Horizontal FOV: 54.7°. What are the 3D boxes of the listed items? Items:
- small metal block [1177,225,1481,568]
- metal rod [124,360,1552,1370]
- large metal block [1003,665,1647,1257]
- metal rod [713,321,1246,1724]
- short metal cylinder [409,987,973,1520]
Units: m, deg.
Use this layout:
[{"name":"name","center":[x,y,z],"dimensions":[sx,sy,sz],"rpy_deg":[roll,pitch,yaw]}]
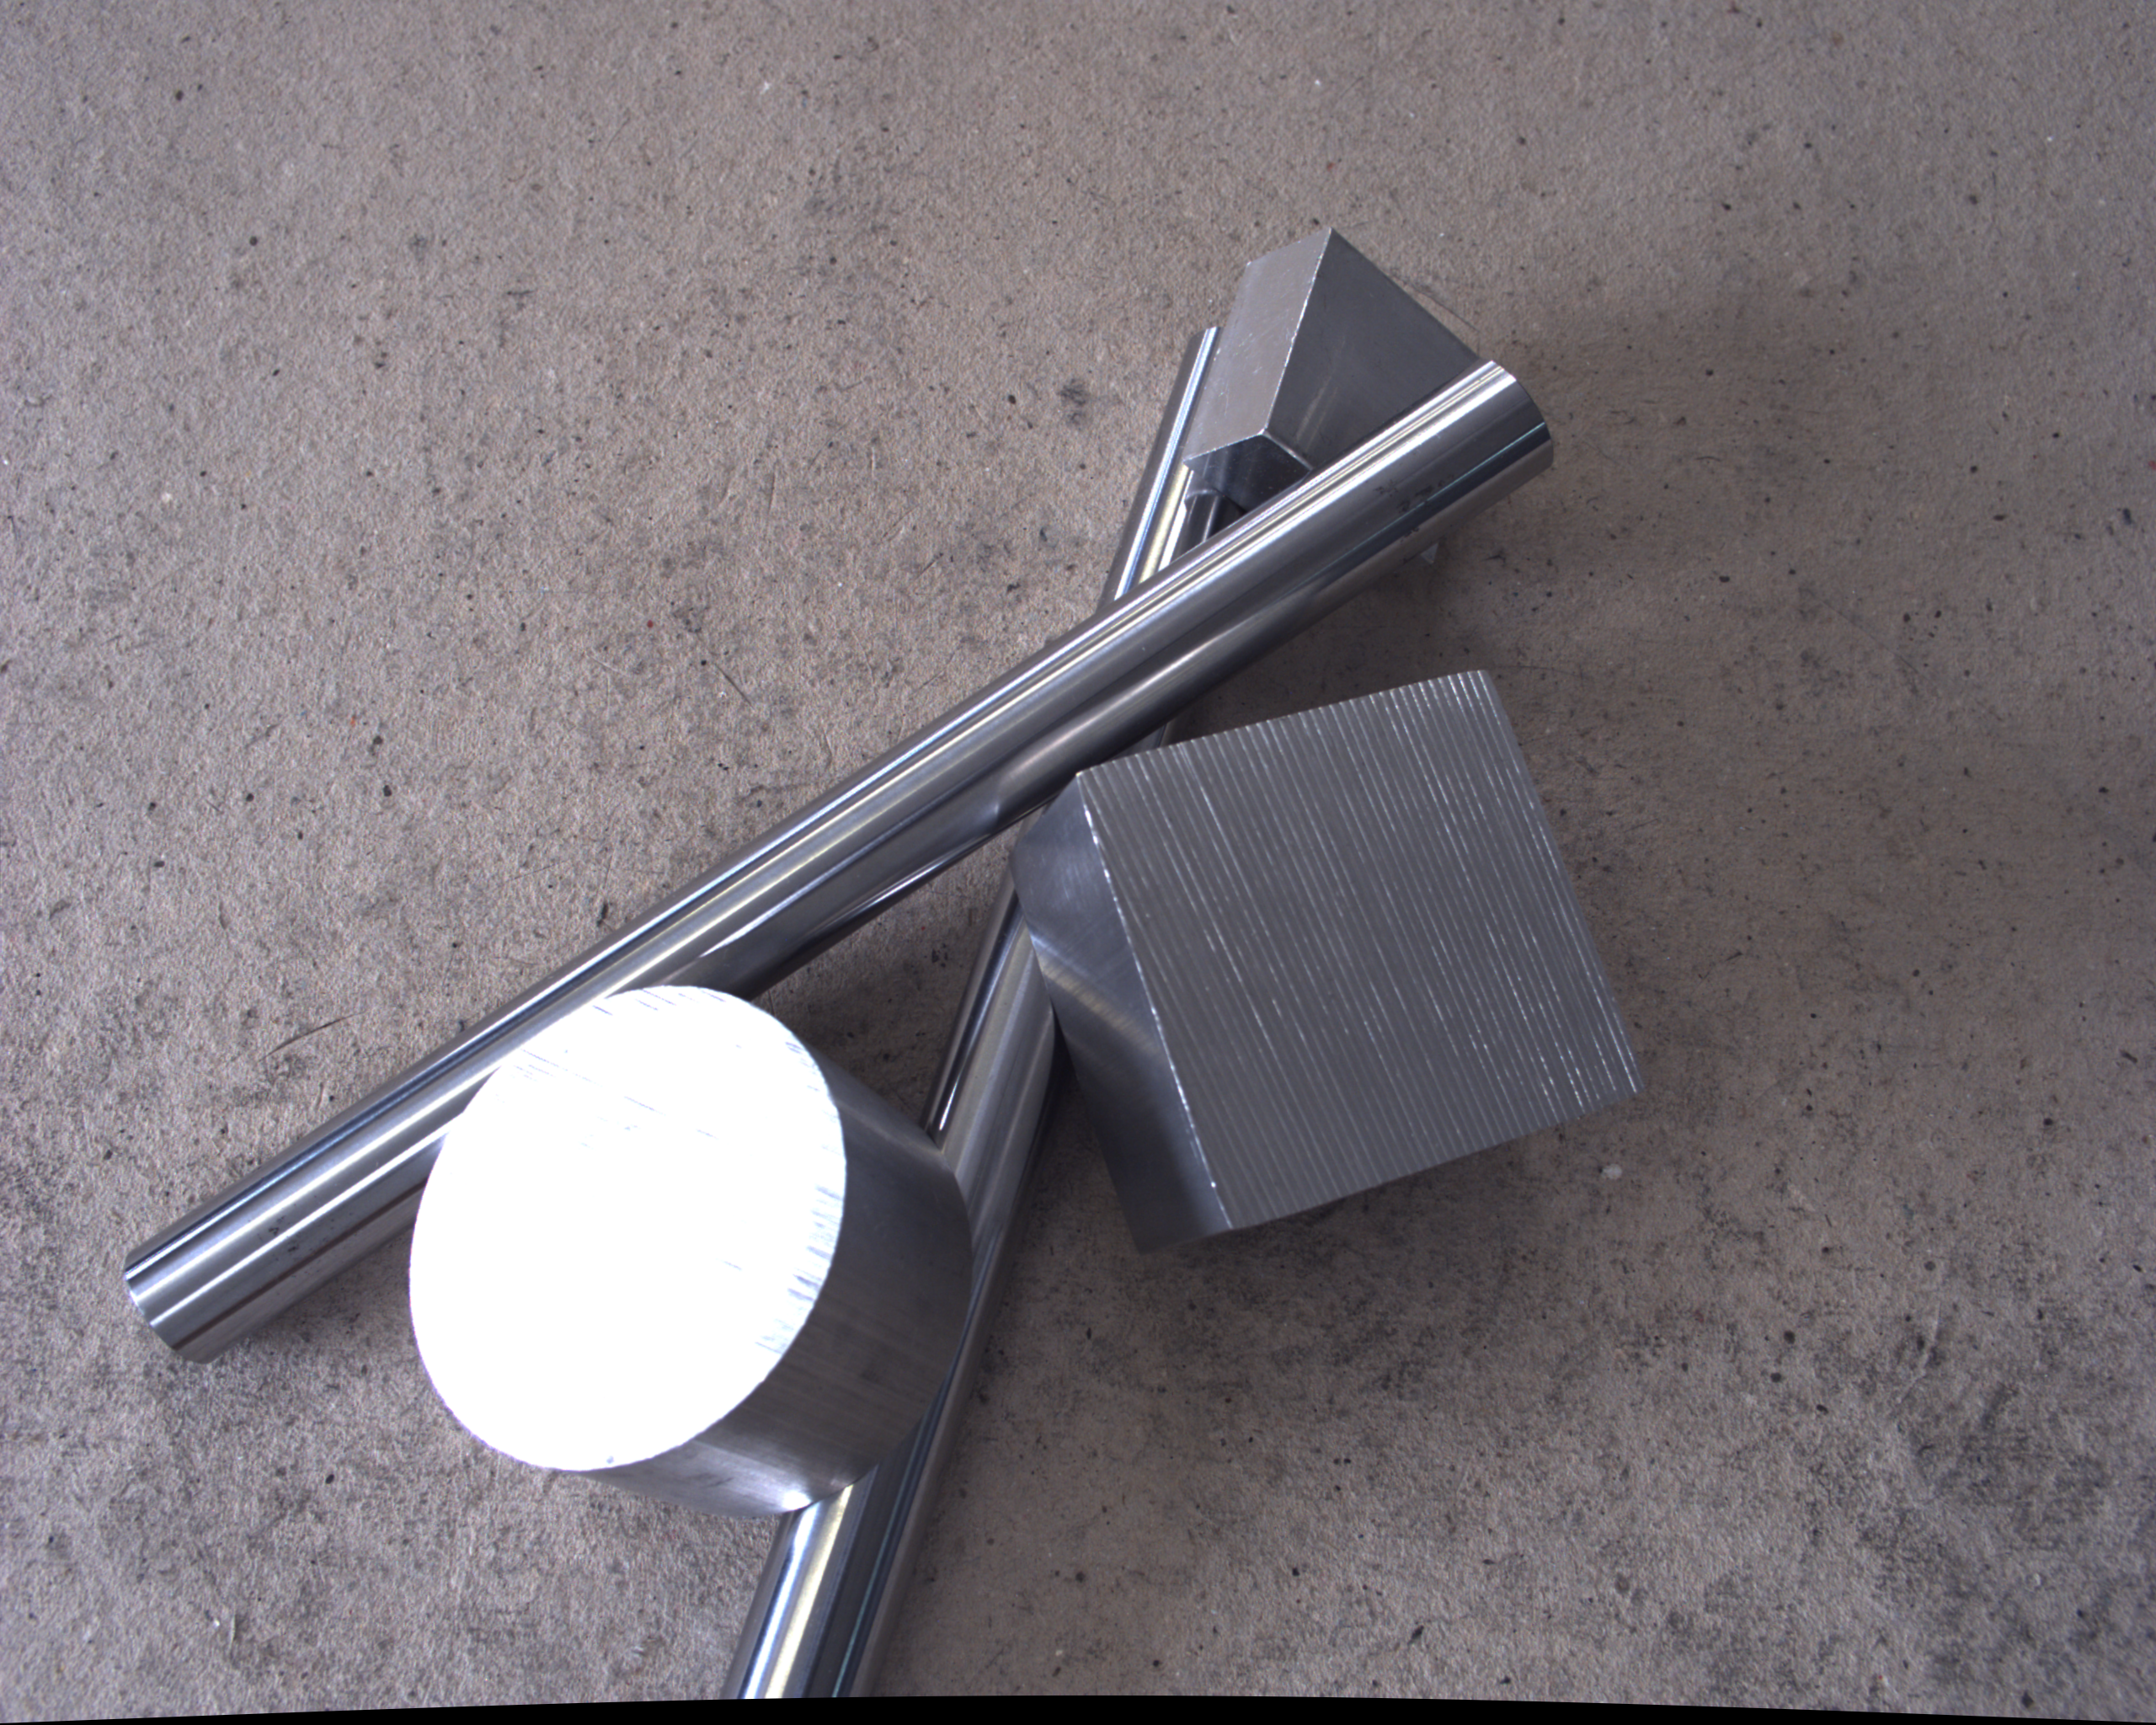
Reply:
[{"name":"small metal block","center":[0.053,-0.093,0.430],"dimensions":[0.050,0.025,0.050],"rpy_deg":[30,67,-32]},{"name":"metal rod","center":[-0.040,-0.003,0.391],"dimensions":[0.301,0.025,0.025],"rpy_deg":[-34,74,-5]},{"name":"large metal block","center":[0.042,0.018,0.374],"dimensions":[0.081,0.050,0.080],"rpy_deg":[-15,80,-19]},{"name":"metal rod","center":[-0.009,0.026,0.399],"dimensions":[0.025,0.025,0.299],"rpy_deg":[16,71,6]},{"name":"short metal cylinder","center":[-0.065,0.068,0.357],"dimensions":[0.080,0.050,0.080],"rpy_deg":[-9,62,18]}]
